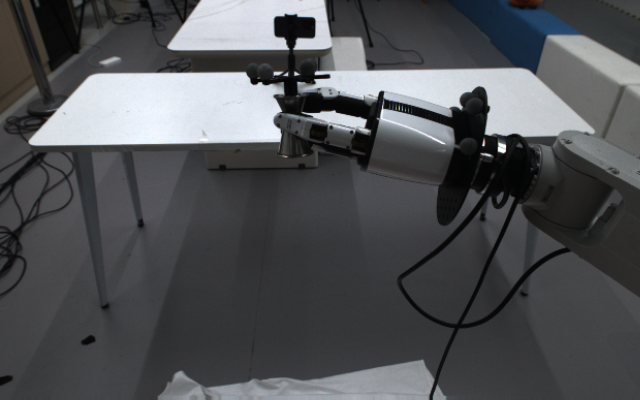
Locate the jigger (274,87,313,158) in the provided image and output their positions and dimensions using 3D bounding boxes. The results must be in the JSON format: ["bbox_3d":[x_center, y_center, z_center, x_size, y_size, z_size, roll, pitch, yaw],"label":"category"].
[{"bbox_3d":[-0.030,-0.085,0.553,0.043,0.071,0.043,-3,19,1],"label":"jigger"}]
